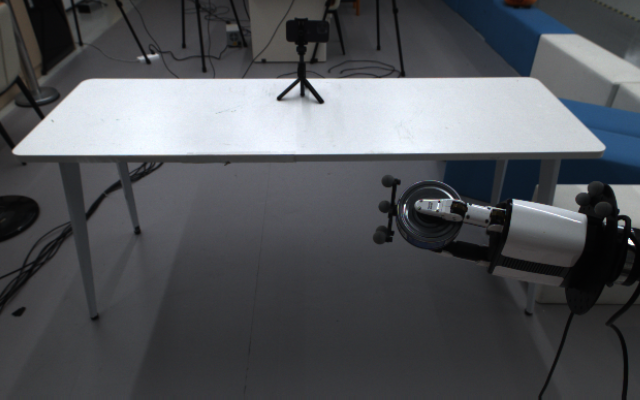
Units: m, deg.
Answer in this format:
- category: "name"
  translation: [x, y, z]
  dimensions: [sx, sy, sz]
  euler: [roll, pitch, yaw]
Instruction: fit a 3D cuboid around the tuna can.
- category: "tuna can"
  translation: [0.143, 0.016, 0.623]
  dimensions: [0.085, 0.034, 0.085]
  euler: [-2, 68, 5]
